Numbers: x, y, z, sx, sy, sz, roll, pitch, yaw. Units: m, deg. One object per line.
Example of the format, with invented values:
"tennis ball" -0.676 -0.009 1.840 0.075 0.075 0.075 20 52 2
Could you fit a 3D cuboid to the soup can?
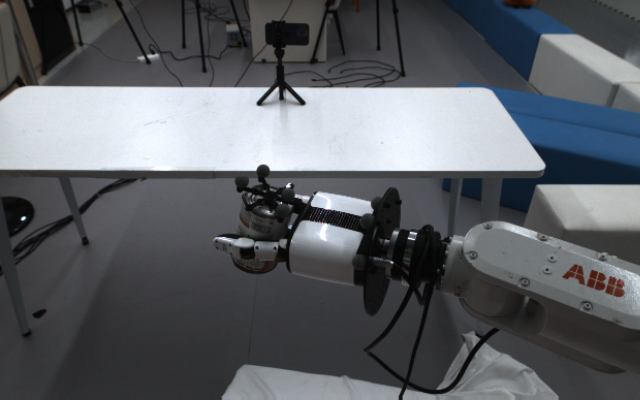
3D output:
"soup can" -0.076 0.040 0.641 0.067 0.101 0.067 13 35 -9
